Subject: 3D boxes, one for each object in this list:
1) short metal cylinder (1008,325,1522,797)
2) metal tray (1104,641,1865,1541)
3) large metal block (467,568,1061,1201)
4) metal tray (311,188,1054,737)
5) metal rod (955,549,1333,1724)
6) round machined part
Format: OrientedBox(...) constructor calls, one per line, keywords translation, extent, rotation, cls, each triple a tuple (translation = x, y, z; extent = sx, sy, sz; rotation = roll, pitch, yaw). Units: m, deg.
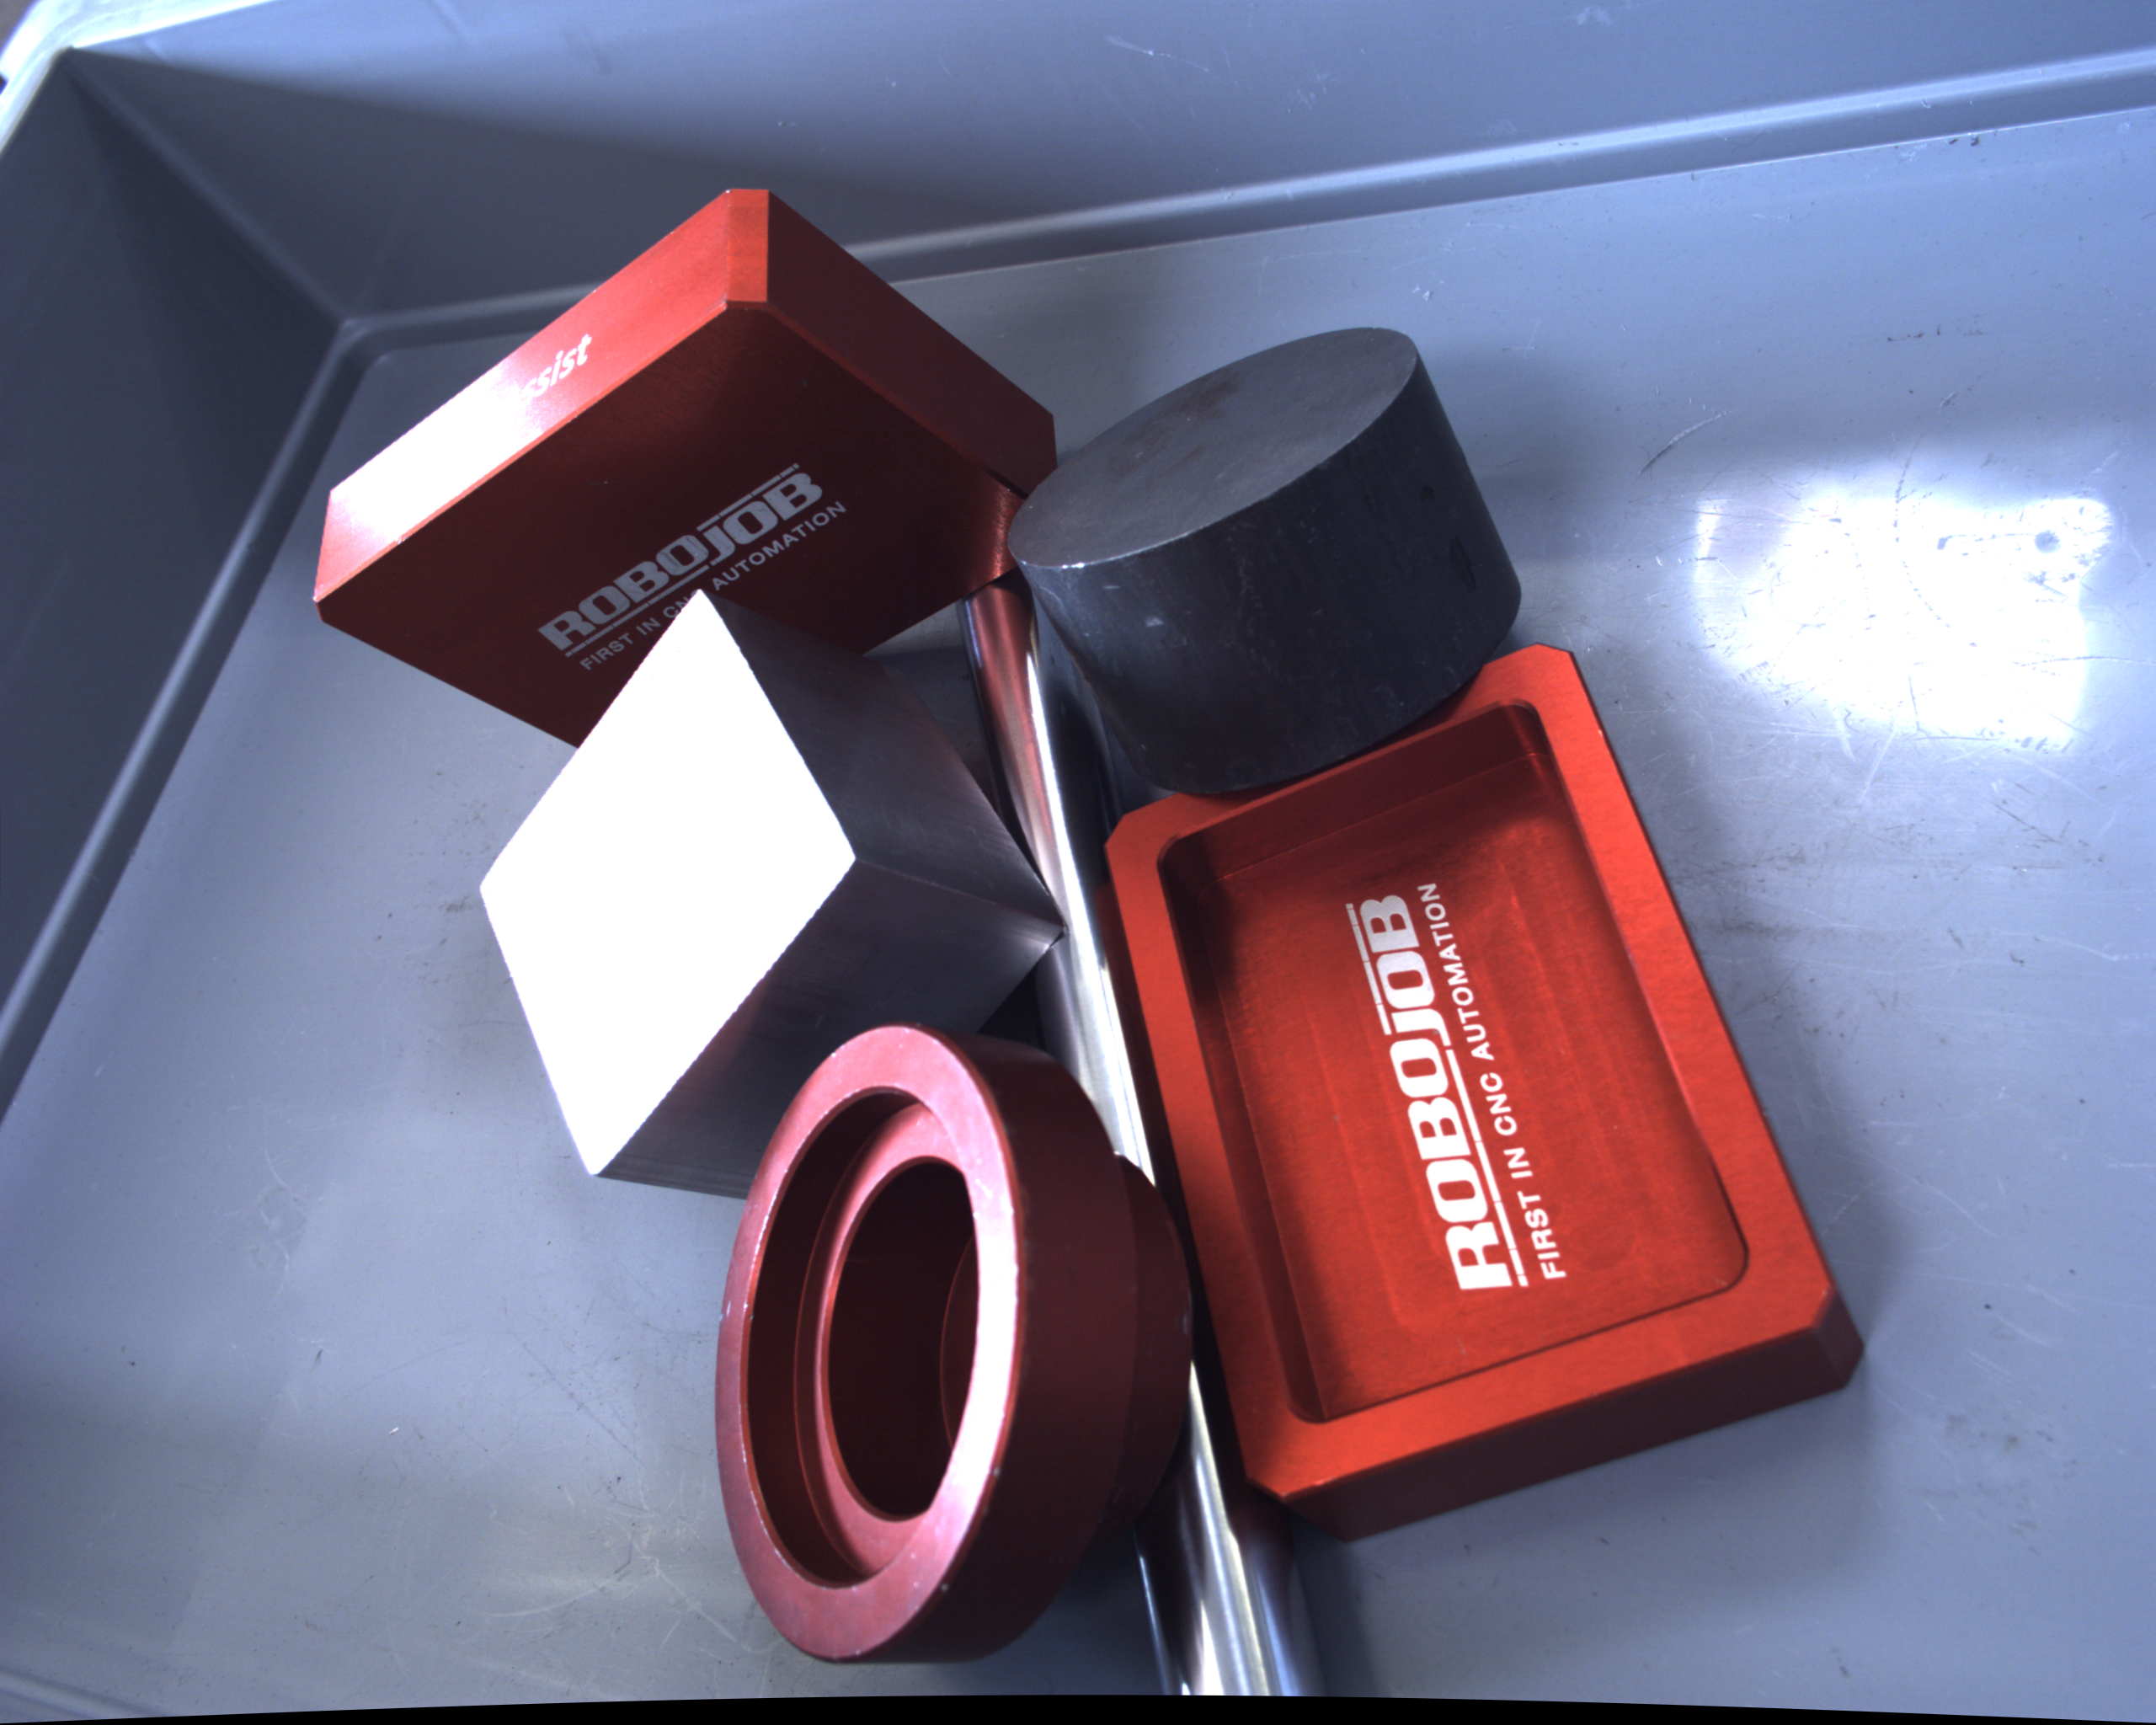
OrientedBox(translation=(0.034, -0.056, 0.385), extent=(0.080, 0.050, 0.080), rotation=(-24, 27, 13), cls="short metal cylinder")
OrientedBox(translation=(0.061, 0.034, 0.347), extent=(0.090, 0.030, 0.130), rotation=(-22, 53, 14), cls="metal tray")
OrientedBox(translation=(-0.062, 0.006, 0.393), extent=(0.080, 0.050, 0.080), rotation=(-48, 49, 18), cls="large metal block")
OrientedBox(translation=(-0.081, -0.071, 0.430), extent=(0.130, 0.090, 0.030), rotation=(-25, 53, 31), cls="metal tray")
OrientedBox(translation=(0.003, 0.023, 0.387), extent=(0.025, 0.025, 0.299), rotation=(-23, 53, 14), cls="metal rod")
OrientedBox(translation=(-0.018, 0.077, 0.337), extent=(0.098, 0.042, 0.098), rotation=(-27, 56, 50), cls="round machined part")
